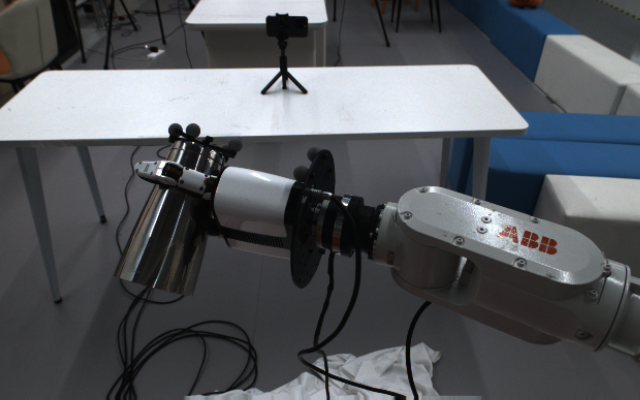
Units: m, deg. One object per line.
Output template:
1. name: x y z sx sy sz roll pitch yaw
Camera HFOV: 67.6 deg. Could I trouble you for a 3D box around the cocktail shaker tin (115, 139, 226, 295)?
1. cocktail shaker tin: -0.168 0.018 0.577 0.093 0.093 0.170 13 77 15
